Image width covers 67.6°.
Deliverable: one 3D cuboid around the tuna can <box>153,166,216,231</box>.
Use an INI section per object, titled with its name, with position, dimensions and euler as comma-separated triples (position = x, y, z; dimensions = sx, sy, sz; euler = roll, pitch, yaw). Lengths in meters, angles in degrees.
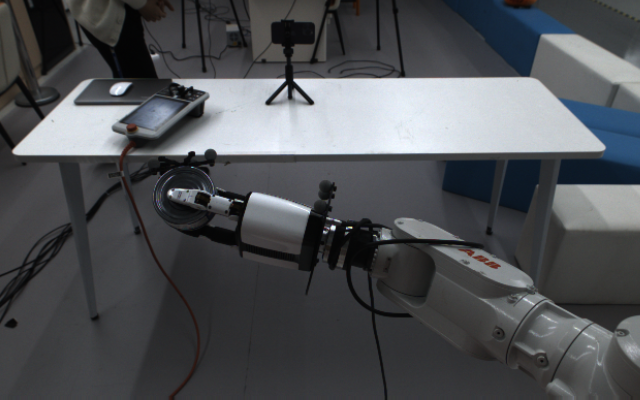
[tuna can]
position = -0.183, -0.003, 0.666
dimensions = 0.085, 0.034, 0.085
euler = 0, 72, -1
